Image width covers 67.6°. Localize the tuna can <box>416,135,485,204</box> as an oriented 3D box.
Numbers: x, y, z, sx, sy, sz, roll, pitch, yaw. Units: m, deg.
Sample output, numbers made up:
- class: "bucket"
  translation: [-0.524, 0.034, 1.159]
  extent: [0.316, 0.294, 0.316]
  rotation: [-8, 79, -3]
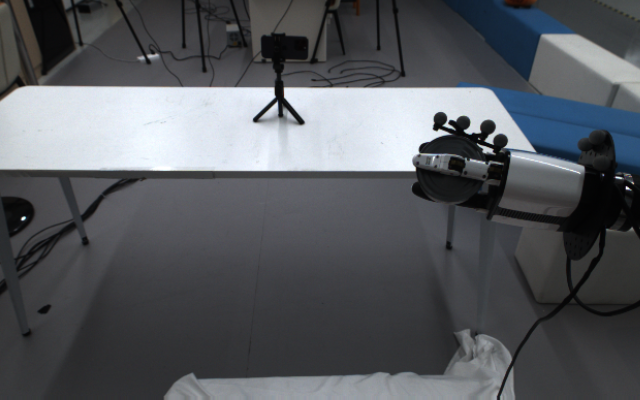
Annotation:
- class: "tuna can"
  translation: [0.168, -0.040, 0.616]
  extent: [0.085, 0.085, 0.034]
  rotation: [14, -6, 16]
